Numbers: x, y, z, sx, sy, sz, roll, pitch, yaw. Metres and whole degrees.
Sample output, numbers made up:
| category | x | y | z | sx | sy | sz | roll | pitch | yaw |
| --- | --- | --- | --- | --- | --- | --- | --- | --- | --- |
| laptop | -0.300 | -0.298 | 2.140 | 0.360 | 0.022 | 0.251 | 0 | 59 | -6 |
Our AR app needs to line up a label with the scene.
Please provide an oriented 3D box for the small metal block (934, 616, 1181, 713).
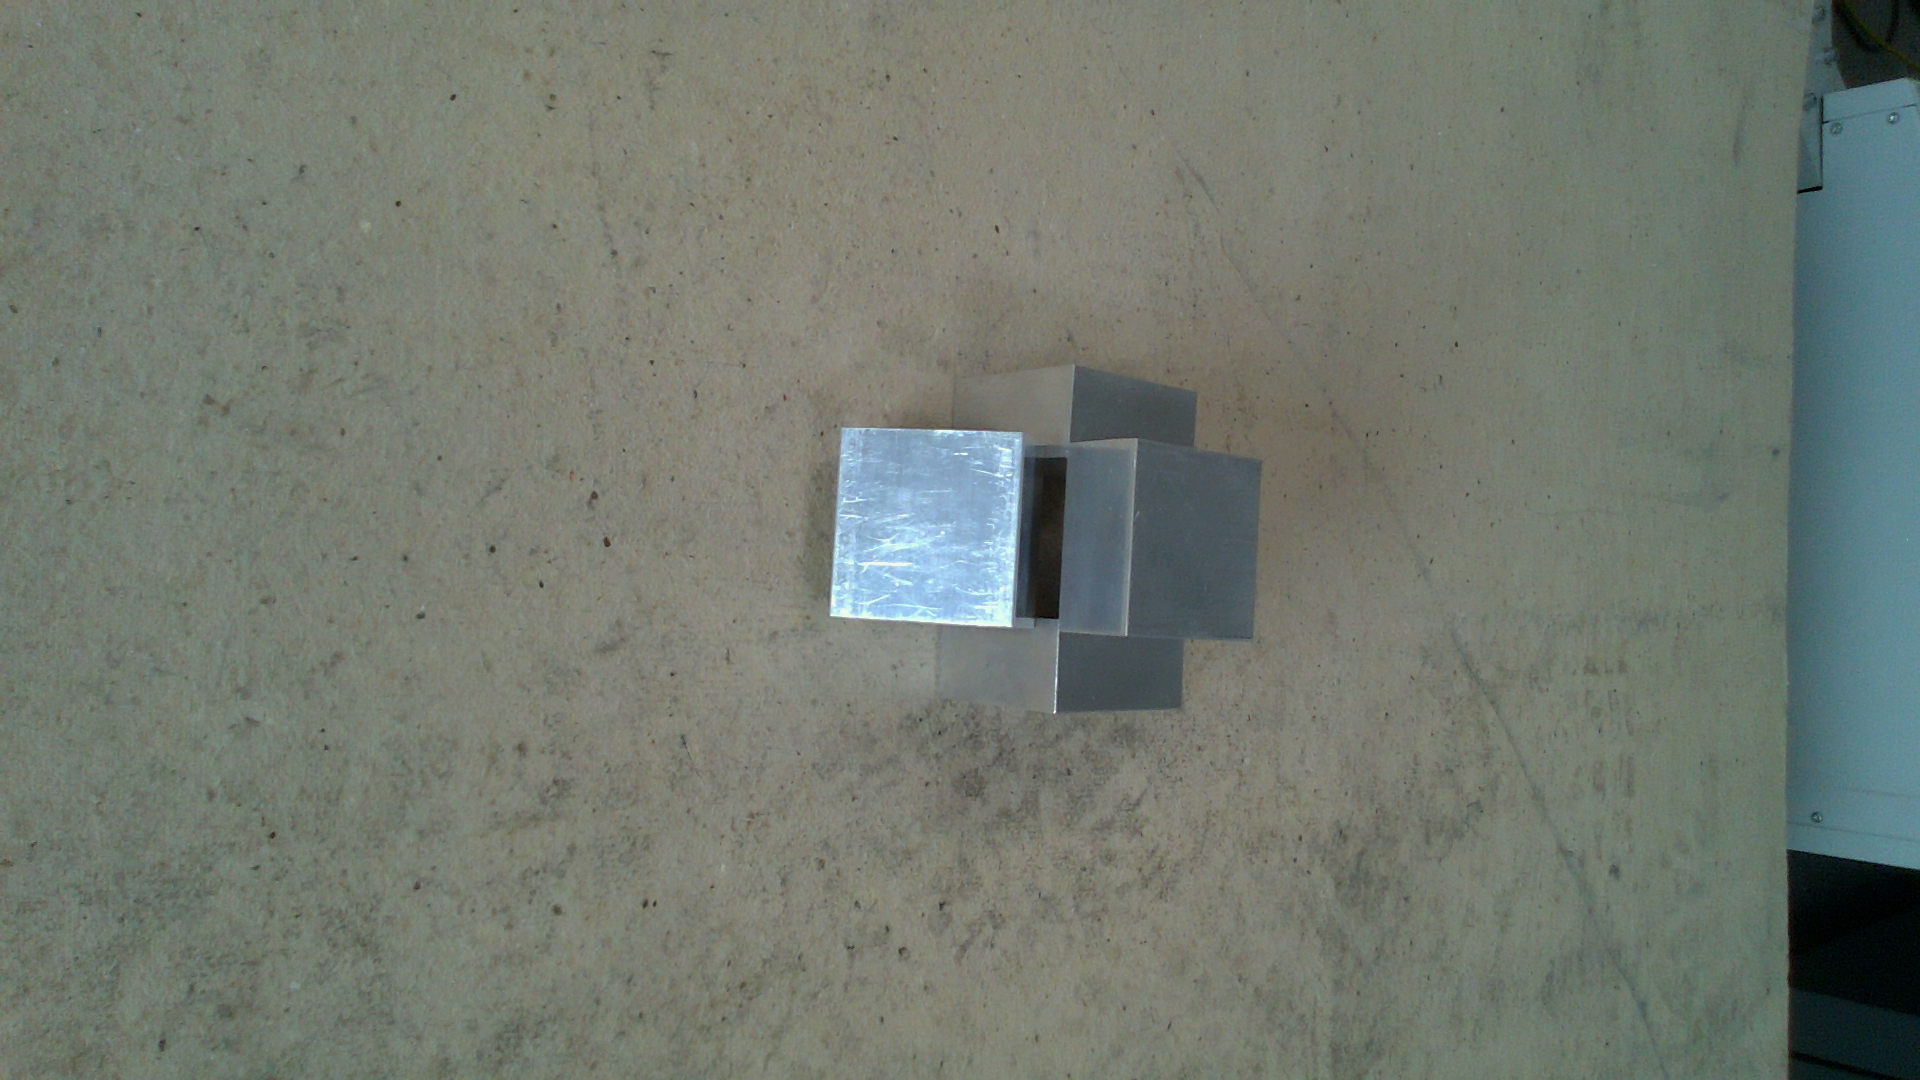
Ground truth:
| category | x | y | z | sx | sy | sz | roll | pitch | yaw |
| --- | --- | --- | --- | --- | --- | --- | --- | --- | --- |
| small metal block | 0.028 | 0.034 | 0.397 | 0.050 | 0.050 | 0.025 | 4 | 88 | -40 |

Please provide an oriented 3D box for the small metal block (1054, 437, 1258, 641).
| category | x | y | z | sx | sy | sz | roll | pitch | yaw |
| --- | --- | --- | --- | --- | --- | --- | --- | --- | --- |
| small metal block | 0.053 | 0.001 | 0.370 | 0.050 | 0.025 | 0.050 | 5 | 87 | -39 |

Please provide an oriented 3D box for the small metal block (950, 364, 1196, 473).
| category | x | y | z | sx | sy | sz | roll | pitch | yaw |
| --- | --- | --- | --- | --- | --- | --- | --- | --- | --- |
| small metal block | 0.032 | -0.033 | 0.400 | 0.050 | 0.050 | 0.025 | 6 | 87 | -40 |

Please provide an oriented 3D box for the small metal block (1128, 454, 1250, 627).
| category | x | y | z | sx | sy | sz | roll | pitch | yaw |
| --- | --- | --- | --- | --- | --- | --- | --- | --- | --- |
| small metal block | 0.070 | 0.001 | 0.429 | 0.025 | 0.050 | 0.050 | 2 | 89 | -4 |

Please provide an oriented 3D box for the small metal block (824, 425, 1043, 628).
| category | x | y | z | sx | sy | sz | roll | pitch | yaw |
| --- | --- | --- | --- | --- | --- | --- | --- | --- | --- |
| small metal block | -0.007 | -0.003 | 0.365 | 0.025 | 0.050 | 0.050 | 13 | 80 | -75 |
